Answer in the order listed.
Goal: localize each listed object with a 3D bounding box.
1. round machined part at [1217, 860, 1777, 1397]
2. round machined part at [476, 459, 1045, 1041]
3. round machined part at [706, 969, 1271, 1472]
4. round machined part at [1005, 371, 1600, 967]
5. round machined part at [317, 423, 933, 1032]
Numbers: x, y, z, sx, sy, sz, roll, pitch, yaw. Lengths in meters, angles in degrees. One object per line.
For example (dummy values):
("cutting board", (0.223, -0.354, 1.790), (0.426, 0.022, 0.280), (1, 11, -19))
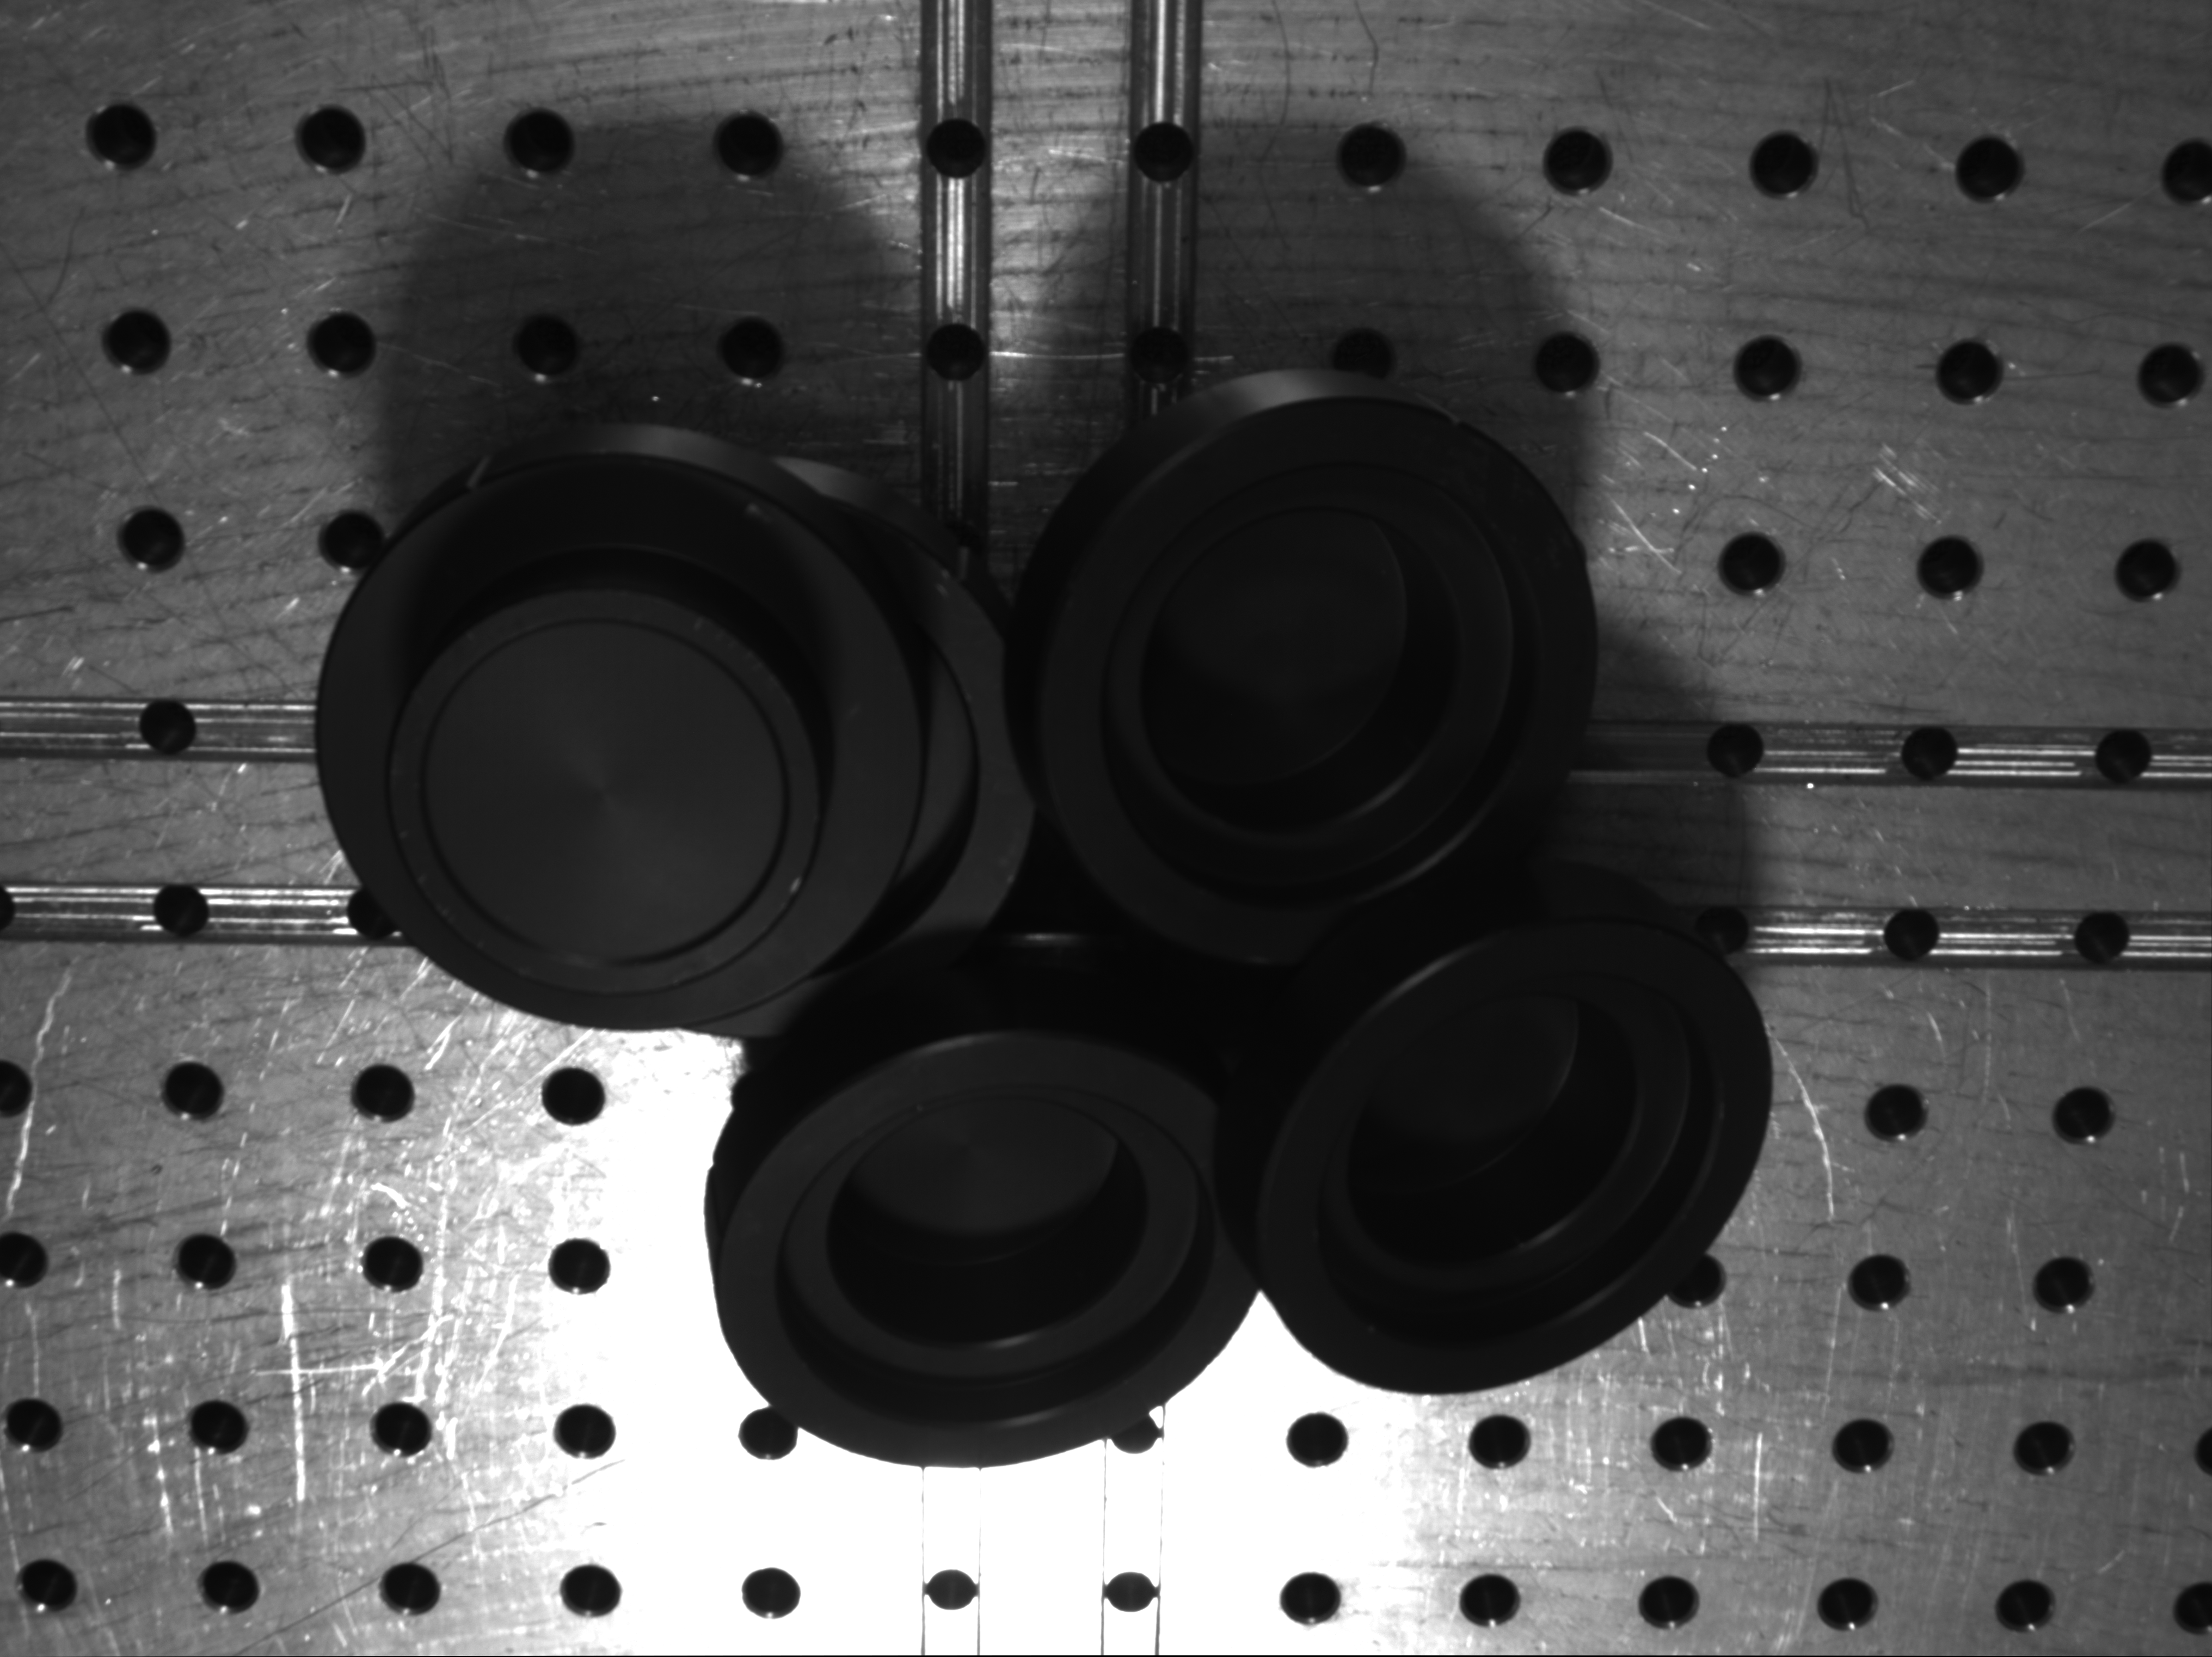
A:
("round machined part", (0.064, 0.048, 0.642), (0.098, 0.042, 0.098), (-11, 123, -18))
("round machined part", (-0.059, -0.016, 0.629), (0.098, 0.042, 0.098), (0, 110, -1))
("round machined part", (-0.023, 0.064, 0.650), (0.098, 0.042, 0.098), (-6, 125, -8))
("round machined part", (0.030, -0.030, 0.617), (0.098, 0.042, 0.098), (-6, 112, -16))
("round machined part", (-0.077, -0.012, 0.586), (0.098, 0.042, 0.098), (0, 110, -1))
